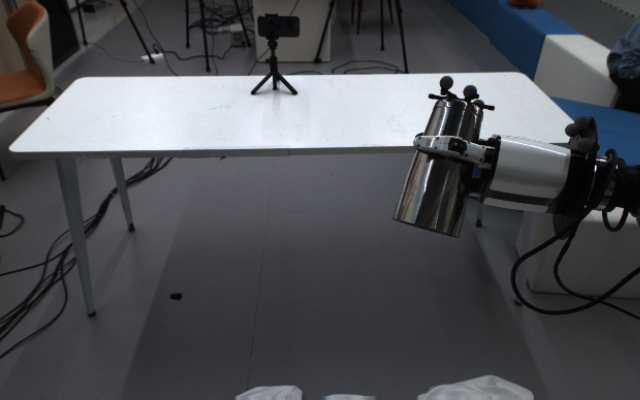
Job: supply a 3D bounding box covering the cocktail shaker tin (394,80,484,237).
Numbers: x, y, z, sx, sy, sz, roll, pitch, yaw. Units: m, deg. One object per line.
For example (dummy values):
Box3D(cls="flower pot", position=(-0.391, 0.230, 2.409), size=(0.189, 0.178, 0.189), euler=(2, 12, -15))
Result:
Box3D(cls="cocktail shaker tin", position=(0.167, -0.044, 0.651), size=(0.093, 0.170, 0.093), euler=(16, -2, 1))
